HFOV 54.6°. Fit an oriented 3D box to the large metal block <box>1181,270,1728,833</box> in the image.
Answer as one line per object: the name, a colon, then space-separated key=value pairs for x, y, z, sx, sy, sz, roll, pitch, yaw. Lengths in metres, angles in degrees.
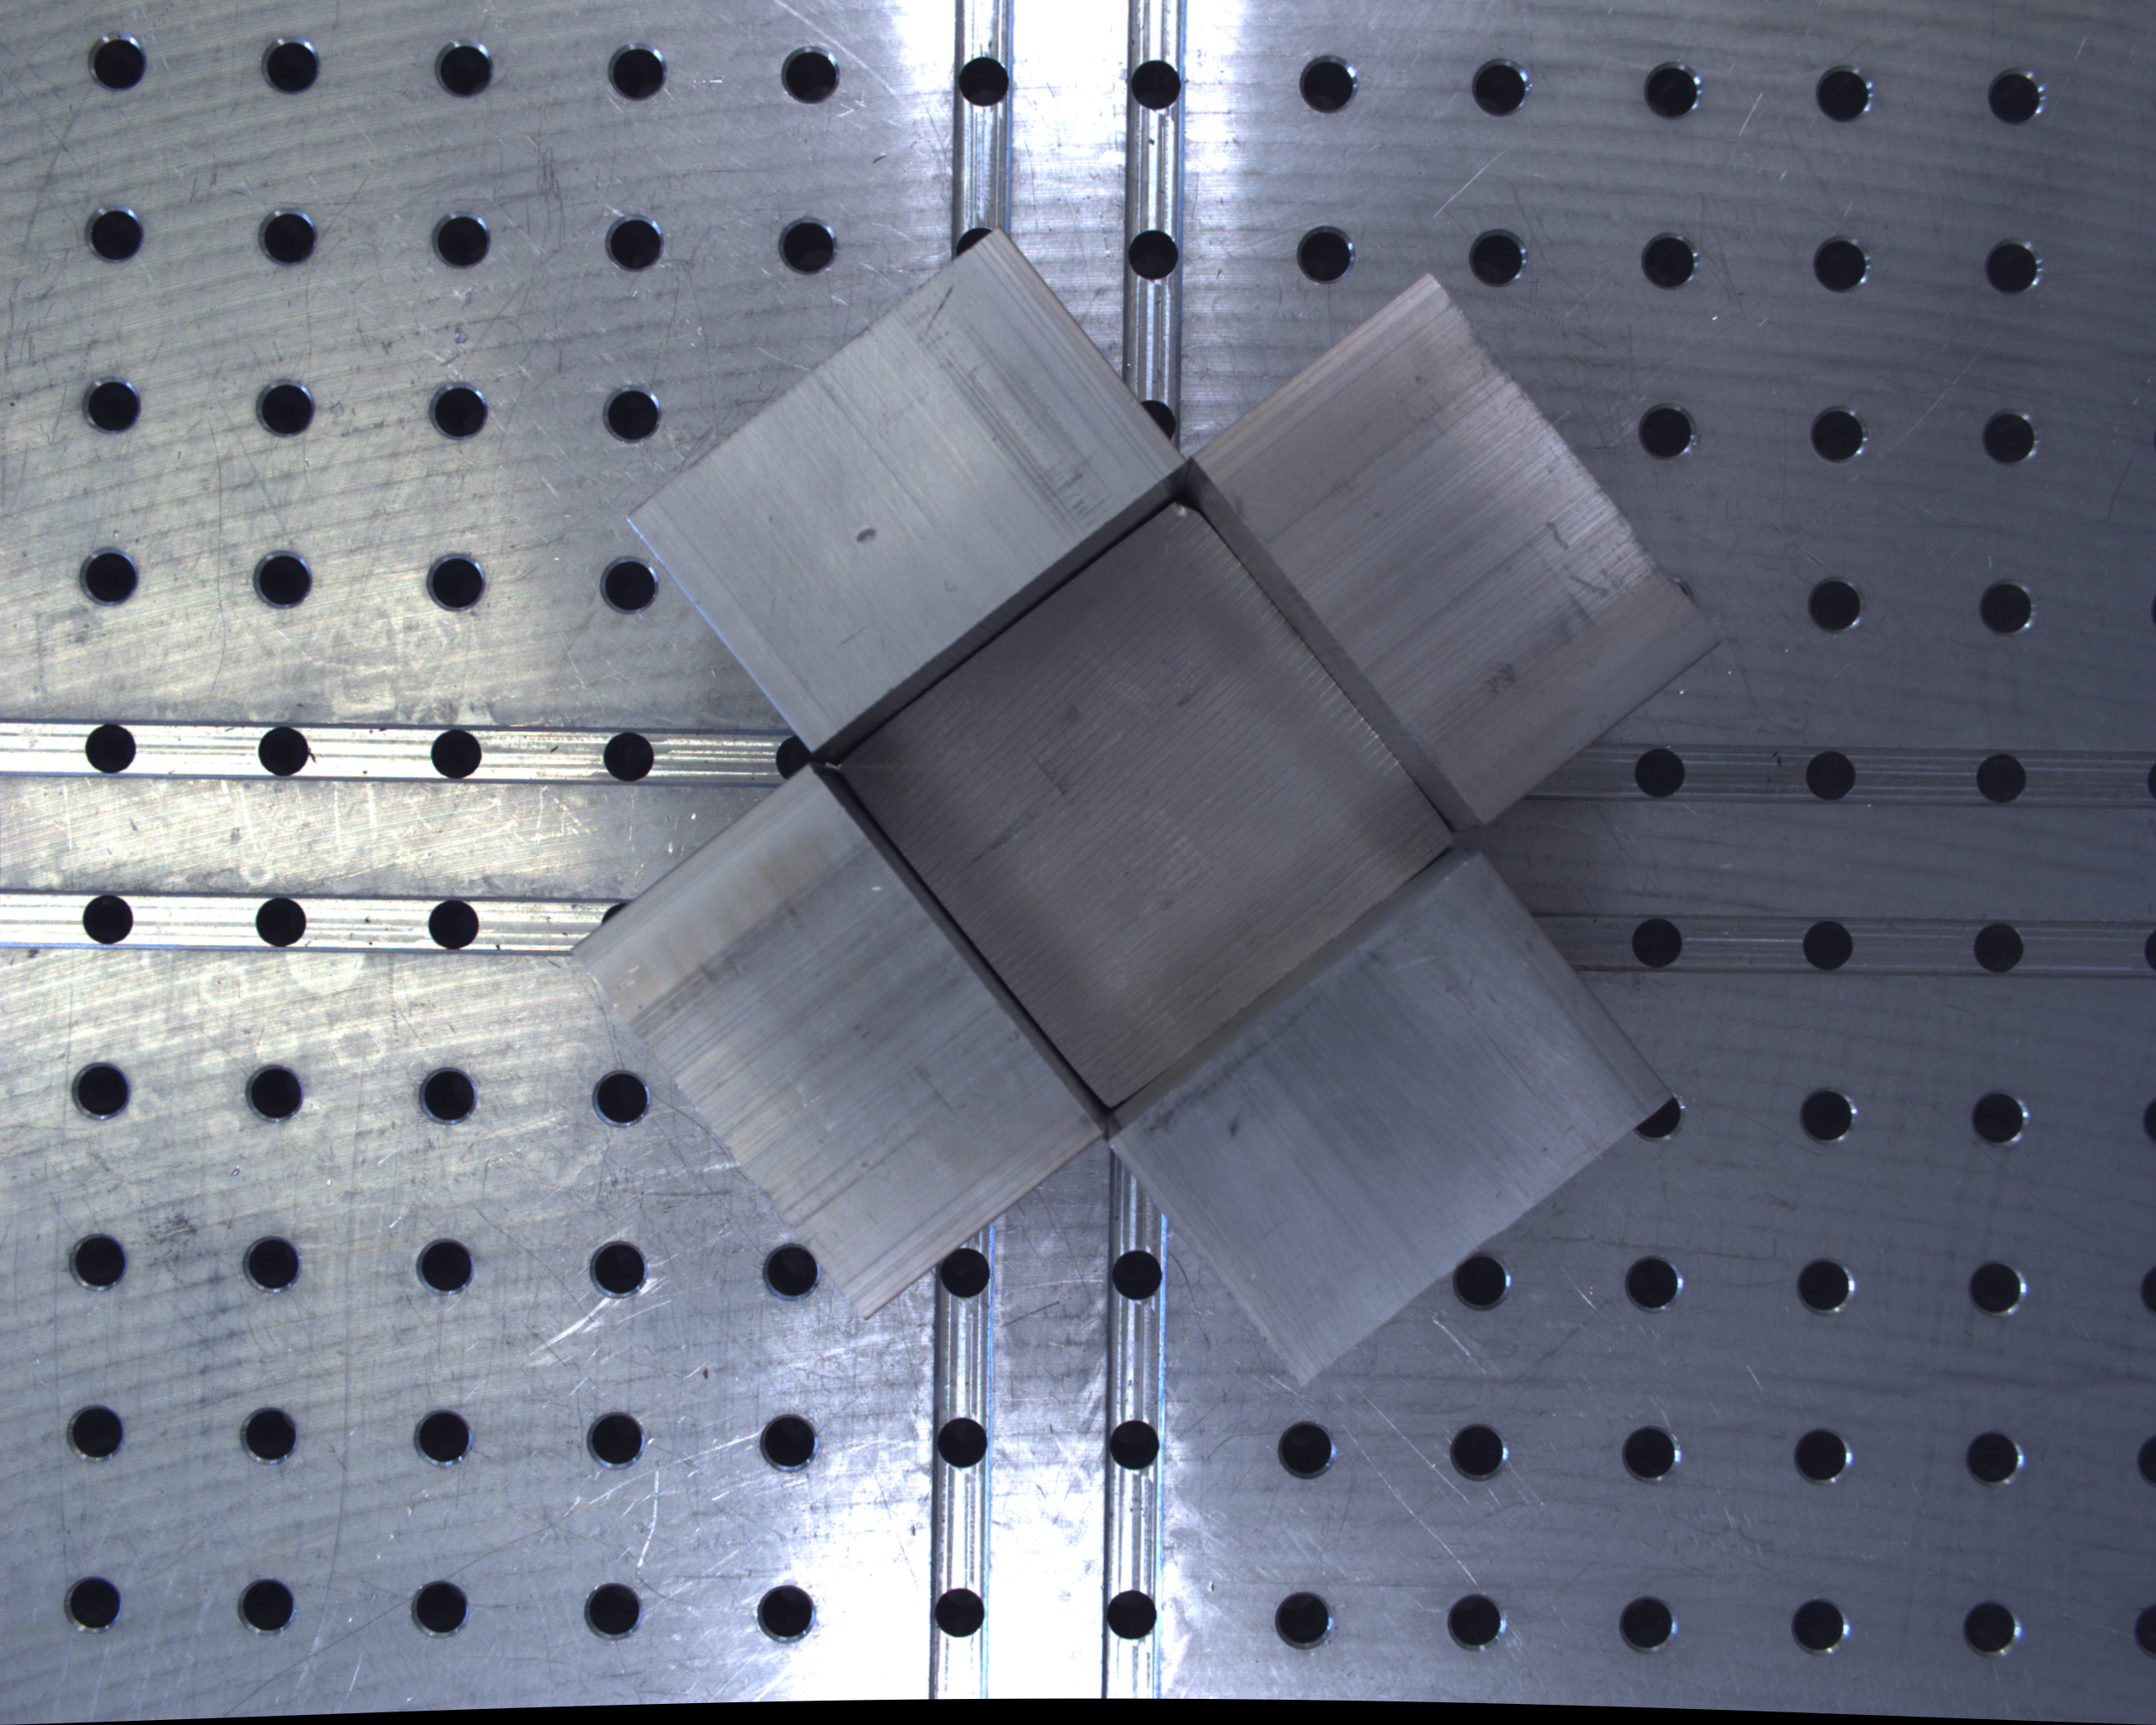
large metal block: x=0.063 y=-0.052 z=0.386 sx=0.050 sy=0.080 sz=0.080 roll=-39 pitch=91 yaw=0

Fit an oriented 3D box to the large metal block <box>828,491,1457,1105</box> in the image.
large metal block: x=0.012 y=-0.011 z=0.400 sx=0.080 sy=0.050 sz=0.080 roll=-38 pitch=89 yaw=2

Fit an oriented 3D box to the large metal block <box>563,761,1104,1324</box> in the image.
large metal block: x=-0.040 y=0.029 z=0.385 sx=0.050 sy=0.080 sz=0.080 roll=-39 pitch=91 yaw=0

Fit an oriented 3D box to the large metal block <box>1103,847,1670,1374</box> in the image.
large metal block: x=0.052 y=0.041 z=0.387 sx=0.080 sy=0.080 sz=0.050 roll=-37 pitch=90 yaw=0

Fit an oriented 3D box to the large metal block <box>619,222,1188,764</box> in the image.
large metal block: x=-0.029 y=-0.062 z=0.386 sx=0.080 sy=0.080 sz=0.050 roll=-38 pitch=90 yaw=0
